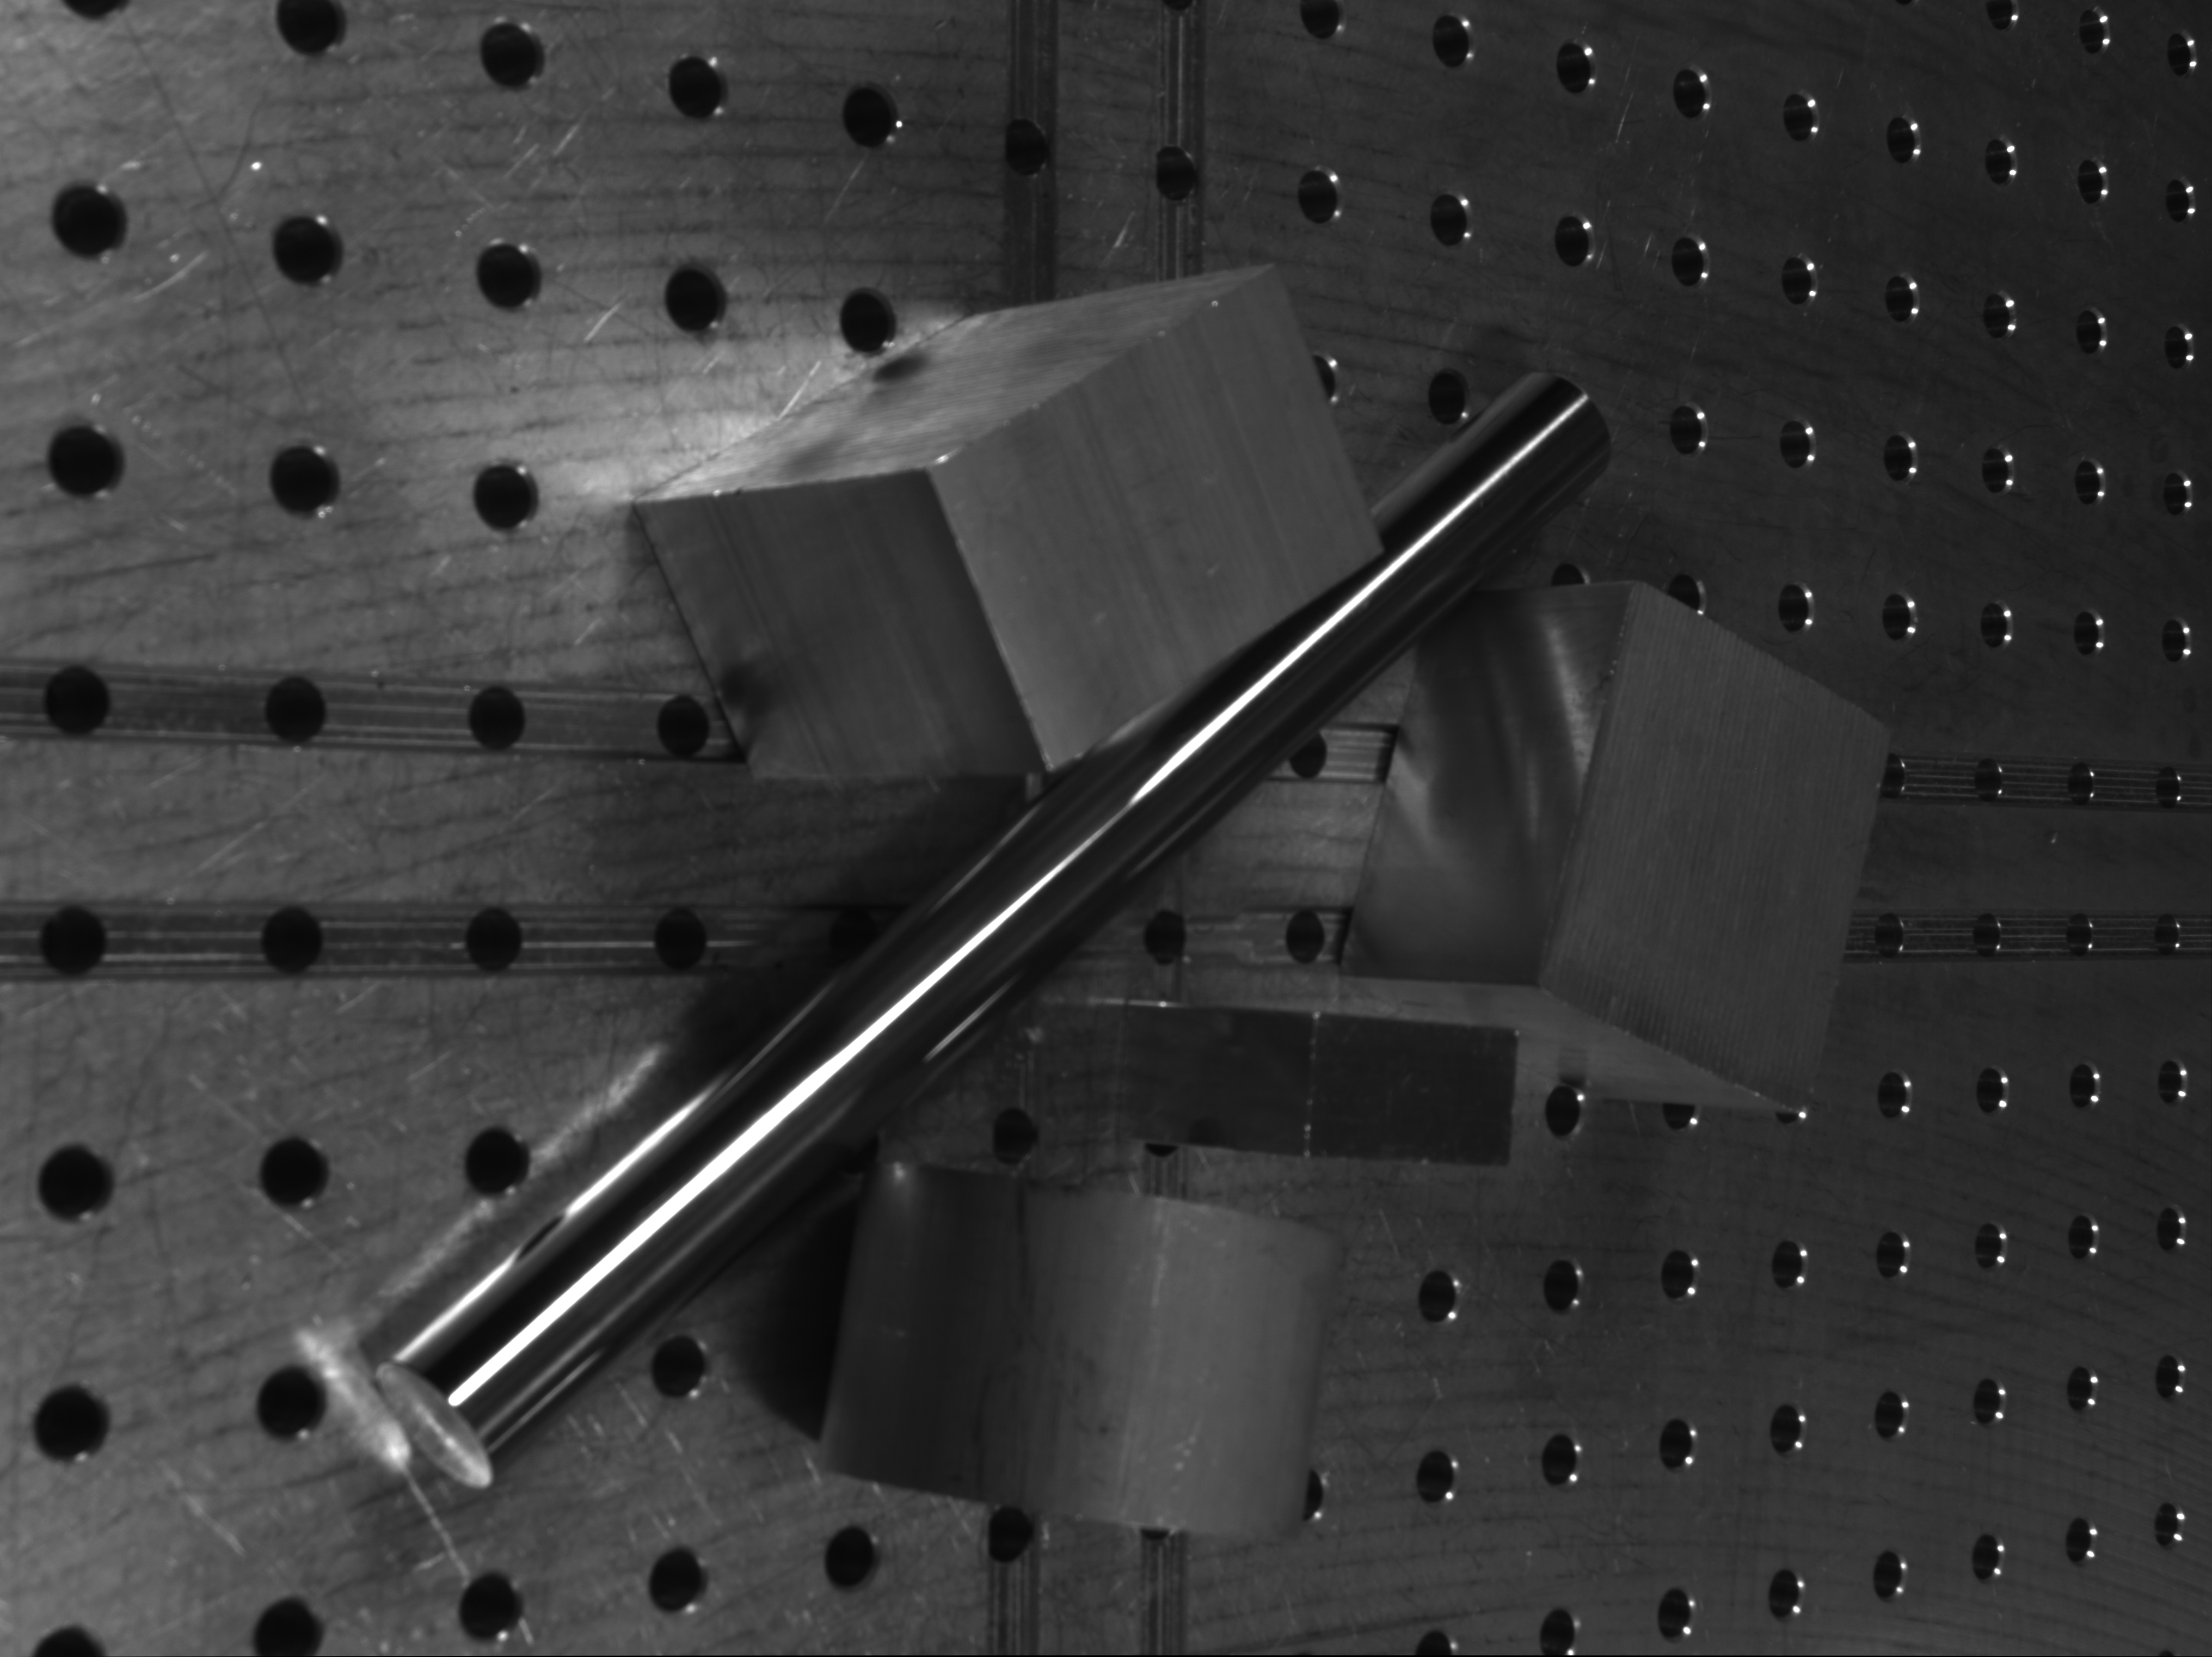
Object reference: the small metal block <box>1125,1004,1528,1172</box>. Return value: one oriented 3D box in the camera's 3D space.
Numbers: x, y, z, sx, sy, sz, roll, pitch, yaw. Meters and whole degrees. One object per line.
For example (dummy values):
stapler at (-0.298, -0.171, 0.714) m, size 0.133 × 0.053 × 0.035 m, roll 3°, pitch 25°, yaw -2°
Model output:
small metal block at (0.039, 0.047, 0.657) m, size 0.050 × 0.050 × 0.025 m, roll 7°, pitch 86°, yaw -40°

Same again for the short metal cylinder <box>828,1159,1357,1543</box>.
short metal cylinder at (-0.002, 0.086, 0.602) m, size 0.080 × 0.080 × 0.050 m, roll 15°, pitch 80°, yaw -39°

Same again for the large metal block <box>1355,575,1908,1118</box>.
large metal block at (0.102, 0.005, 0.706) m, size 0.080 × 0.050 × 0.080 m, roll 25°, pitch 74°, yaw -37°

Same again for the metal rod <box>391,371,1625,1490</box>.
metal rod at (-0.005, 0.006, 0.636) m, size 0.300 × 0.025 × 0.025 m, roll -42°, pitch 115°, yaw -32°

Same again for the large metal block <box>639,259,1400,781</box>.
large metal block at (-0.014, -0.049, 0.594) m, size 0.080 × 0.080 × 0.050 m, roll -35°, pitch 111°, yaw -34°
